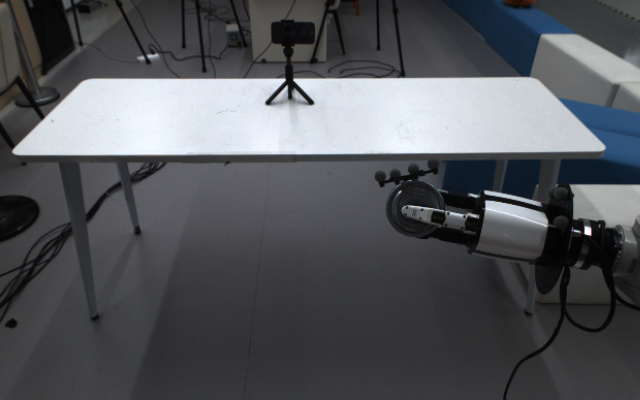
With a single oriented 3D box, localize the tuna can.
[{"bbox_3d":[0.143,0.010,0.714,0.085,0.085,0.034,12,3,14],"label":"tuna can"}]
